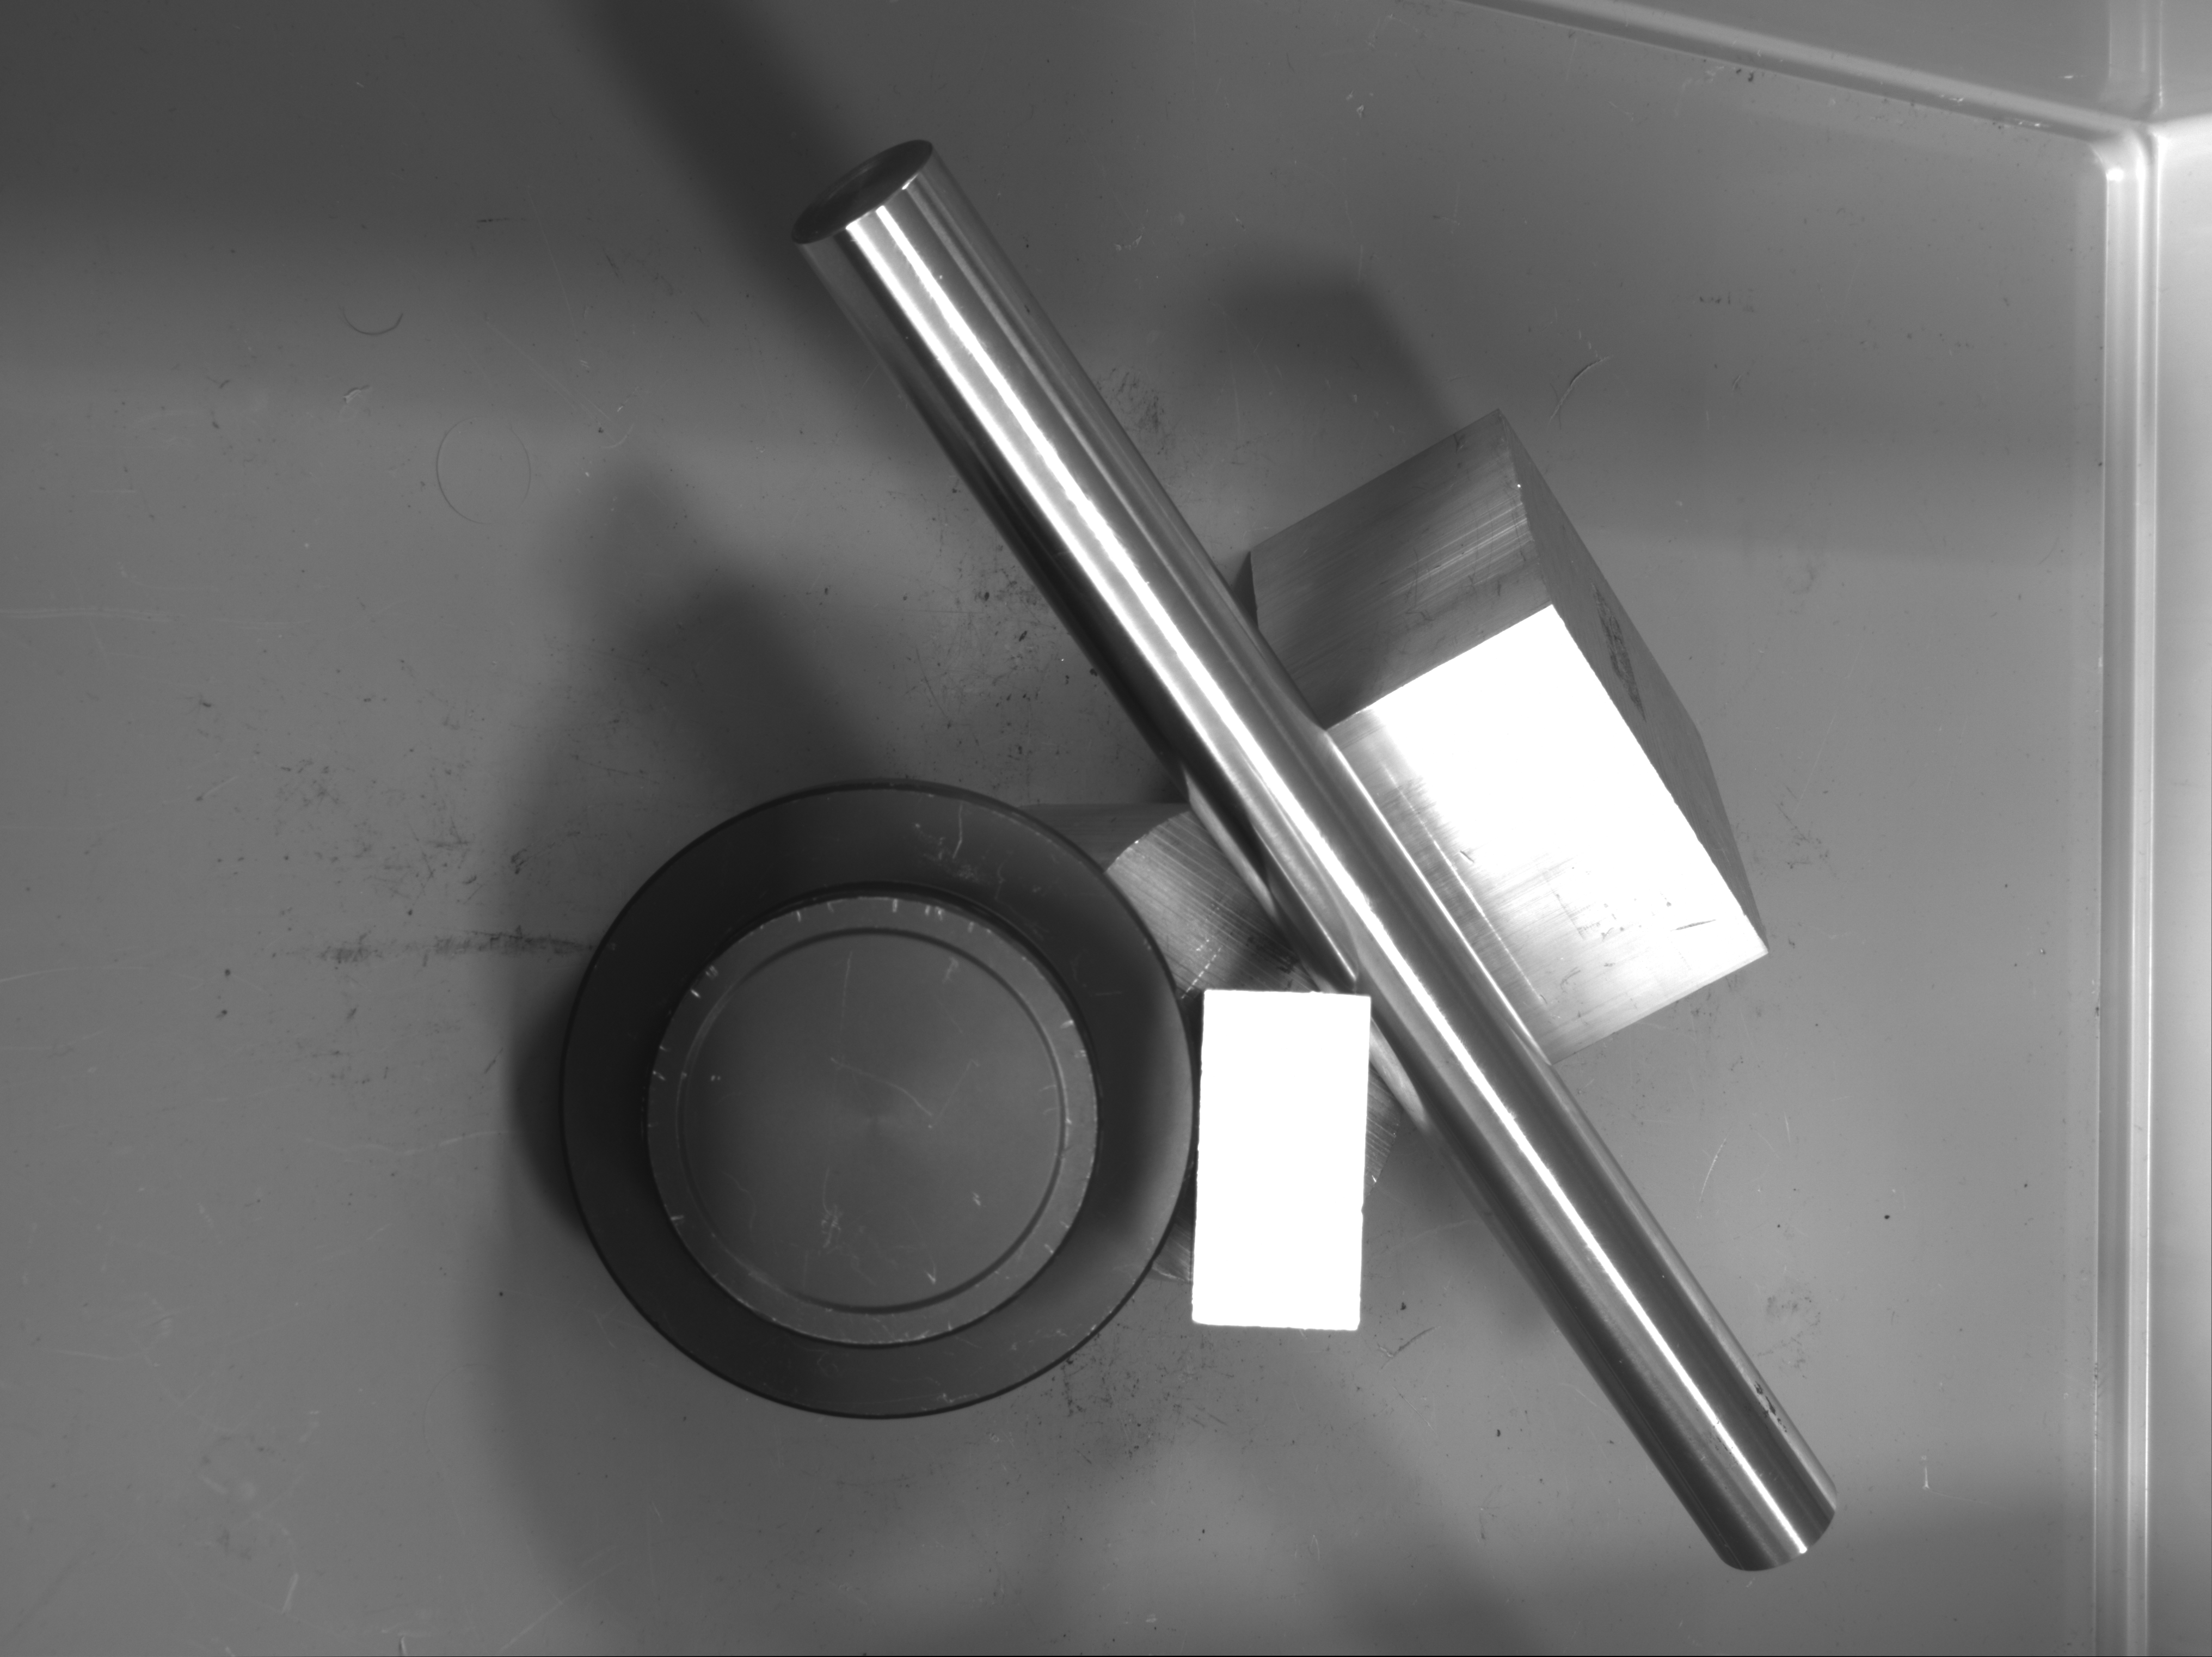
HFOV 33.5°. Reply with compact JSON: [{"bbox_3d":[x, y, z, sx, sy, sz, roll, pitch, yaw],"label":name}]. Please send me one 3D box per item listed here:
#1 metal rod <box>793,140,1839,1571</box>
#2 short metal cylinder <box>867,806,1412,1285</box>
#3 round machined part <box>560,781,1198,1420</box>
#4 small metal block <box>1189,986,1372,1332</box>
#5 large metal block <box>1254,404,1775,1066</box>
[{"bbox_3d":[0.043,0.016,0.606,0.025,0.025,0.301,-51,119,-28],"label":"metal rod"},{"bbox_3d":[0.006,0.036,0.623,0.080,0.050,0.080,0,90,-40],"label":"short metal cylinder"},{"bbox_3d":[-0.035,0.042,0.562,0.098,0.042,0.098,0,93,-1],"label":"round machined part"},{"bbox_3d":[0.027,0.050,0.573,0.025,0.050,0.050,2,88,1],"label":"small metal block"},{"bbox_3d":[0.071,-0.015,0.649,0.080,0.050,0.080,54,16,-26],"label":"large metal block"}]
